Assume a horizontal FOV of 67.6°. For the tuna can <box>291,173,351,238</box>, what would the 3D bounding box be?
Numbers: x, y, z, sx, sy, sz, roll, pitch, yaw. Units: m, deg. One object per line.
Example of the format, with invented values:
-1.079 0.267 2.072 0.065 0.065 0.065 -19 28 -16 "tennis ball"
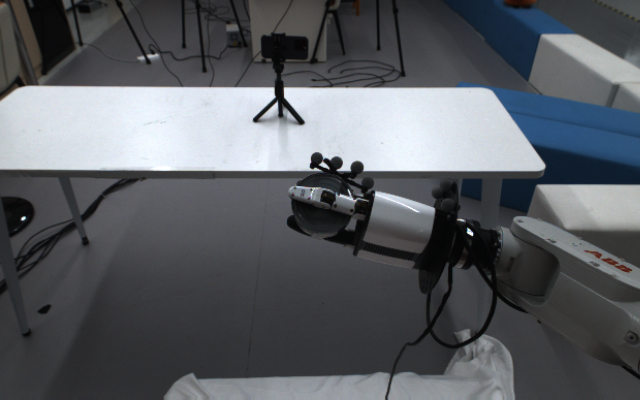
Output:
0.005 0.006 0.662 0.085 0.034 0.085 0 72 0 "tuna can"
